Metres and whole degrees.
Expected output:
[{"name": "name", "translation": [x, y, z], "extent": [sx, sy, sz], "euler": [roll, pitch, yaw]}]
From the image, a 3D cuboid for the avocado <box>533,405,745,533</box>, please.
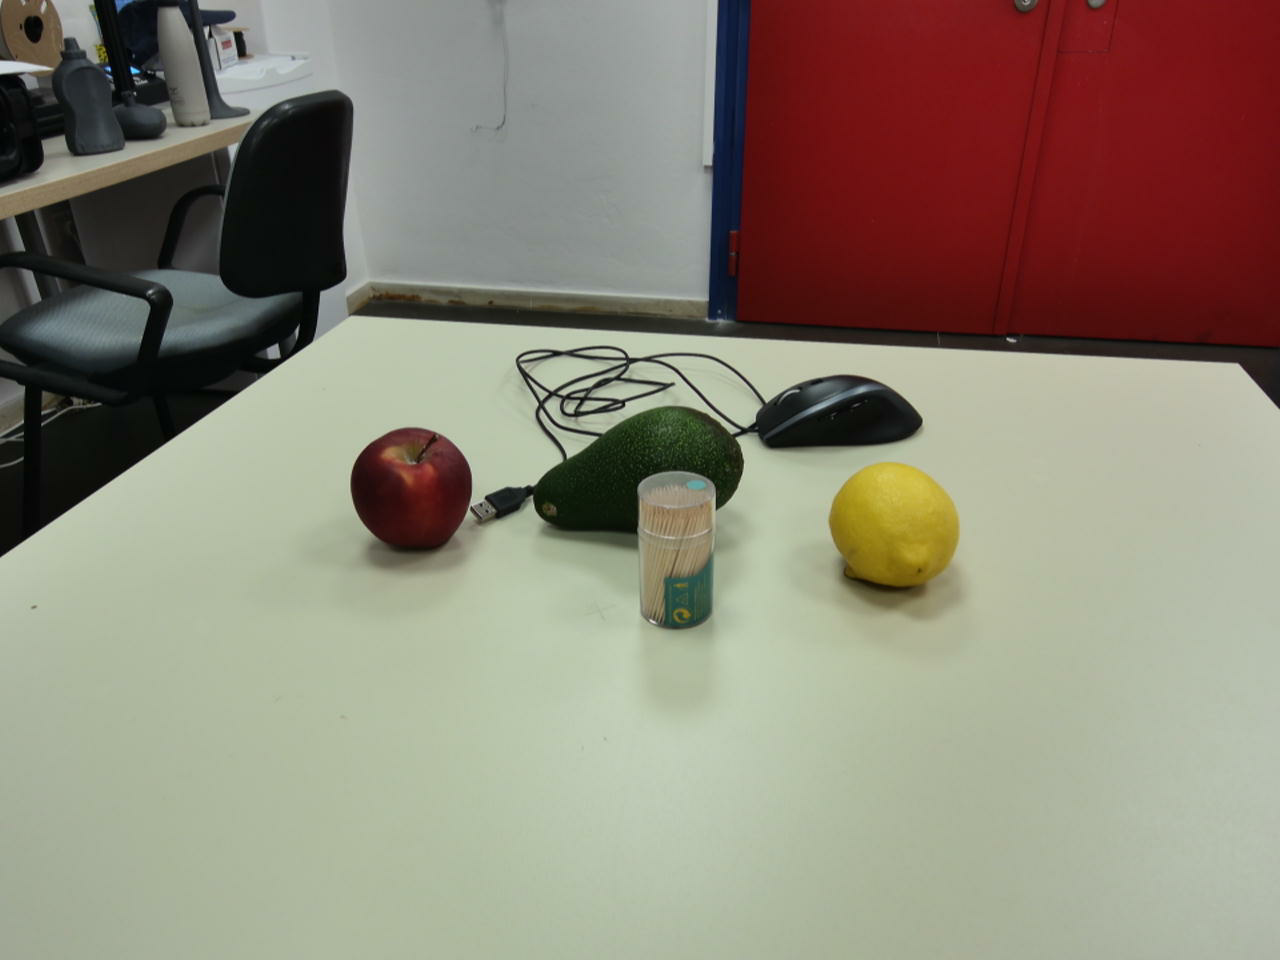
[{"name": "avocado", "translation": [0.001, -0.009, 0.597], "extent": [0.123, 0.076, 0.074], "euler": [8, 27, 16]}]
